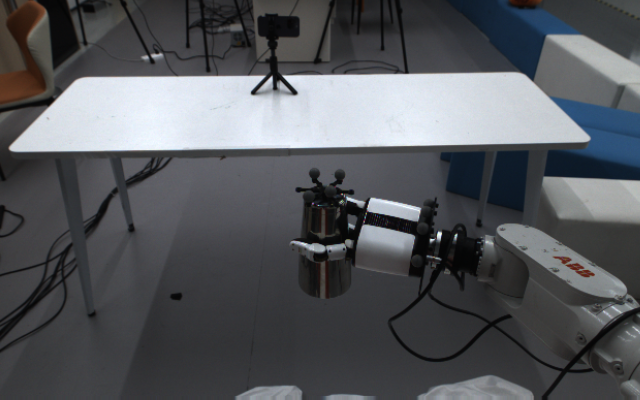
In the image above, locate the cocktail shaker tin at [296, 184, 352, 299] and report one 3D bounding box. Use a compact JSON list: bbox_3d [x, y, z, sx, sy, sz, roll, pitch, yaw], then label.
[{"bbox_3d":[0.009,0.064,0.783,0.093,0.170,0.093,0,33,0],"label":"cocktail shaker tin"}]
